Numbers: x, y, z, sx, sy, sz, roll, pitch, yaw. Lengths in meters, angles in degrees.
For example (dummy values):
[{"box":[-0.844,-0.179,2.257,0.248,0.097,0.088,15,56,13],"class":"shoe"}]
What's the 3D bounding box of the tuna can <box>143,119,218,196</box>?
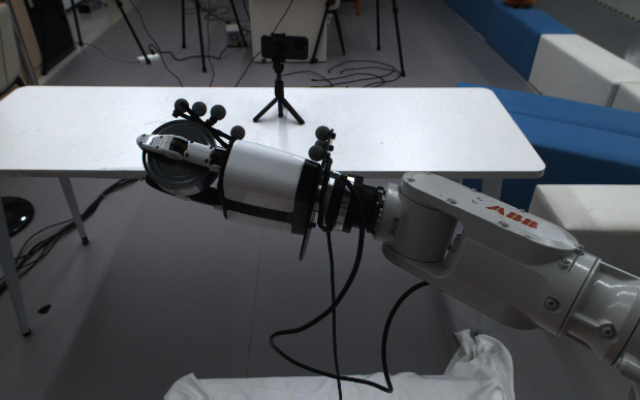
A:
[{"box":[-0.160,-0.049,0.572,0.085,0.034,0.085,0,72,0],"class":"tuna can"}]
